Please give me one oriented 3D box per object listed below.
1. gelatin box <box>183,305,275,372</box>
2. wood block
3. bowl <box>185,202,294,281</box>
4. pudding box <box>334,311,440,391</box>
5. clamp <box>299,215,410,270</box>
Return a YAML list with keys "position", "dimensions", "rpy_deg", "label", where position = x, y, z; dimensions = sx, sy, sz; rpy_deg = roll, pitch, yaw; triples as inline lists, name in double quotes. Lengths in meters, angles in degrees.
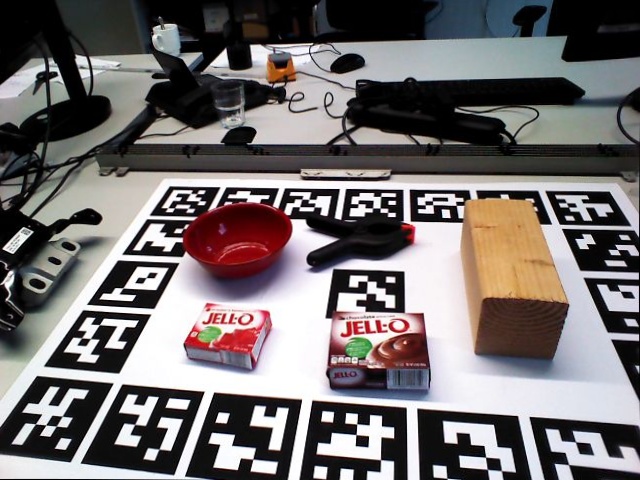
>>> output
- position: [-0.108, 0.116, 0.626]
  dimensions: [0.090, 0.030, 0.073]
  rpy_deg: [6, 40, 15]
  label: "gelatin box"
- position: [0.245, 0.036, 0.639]
  dimensions: [0.090, 0.091, 0.205]
  rpy_deg: [3, 38, 9]
  label: "wood block"
- position: [-0.113, 0.010, 0.761]
  dimensions: [0.162, 0.055, 0.161]
  rpy_deg: [-3, 39, 2]
  label: "bowl"
- position: [0.075, 0.124, 0.587]
  dimensions: [0.114, 0.039, 0.089]
  rpy_deg: [-1, 41, 9]
  label: "pudding box"
- position: [0.053, -0.004, 0.777]
  dimensions: [0.165, 0.037, 0.121]
  rpy_deg: [-4, 36, -2]
  label: "clamp"
